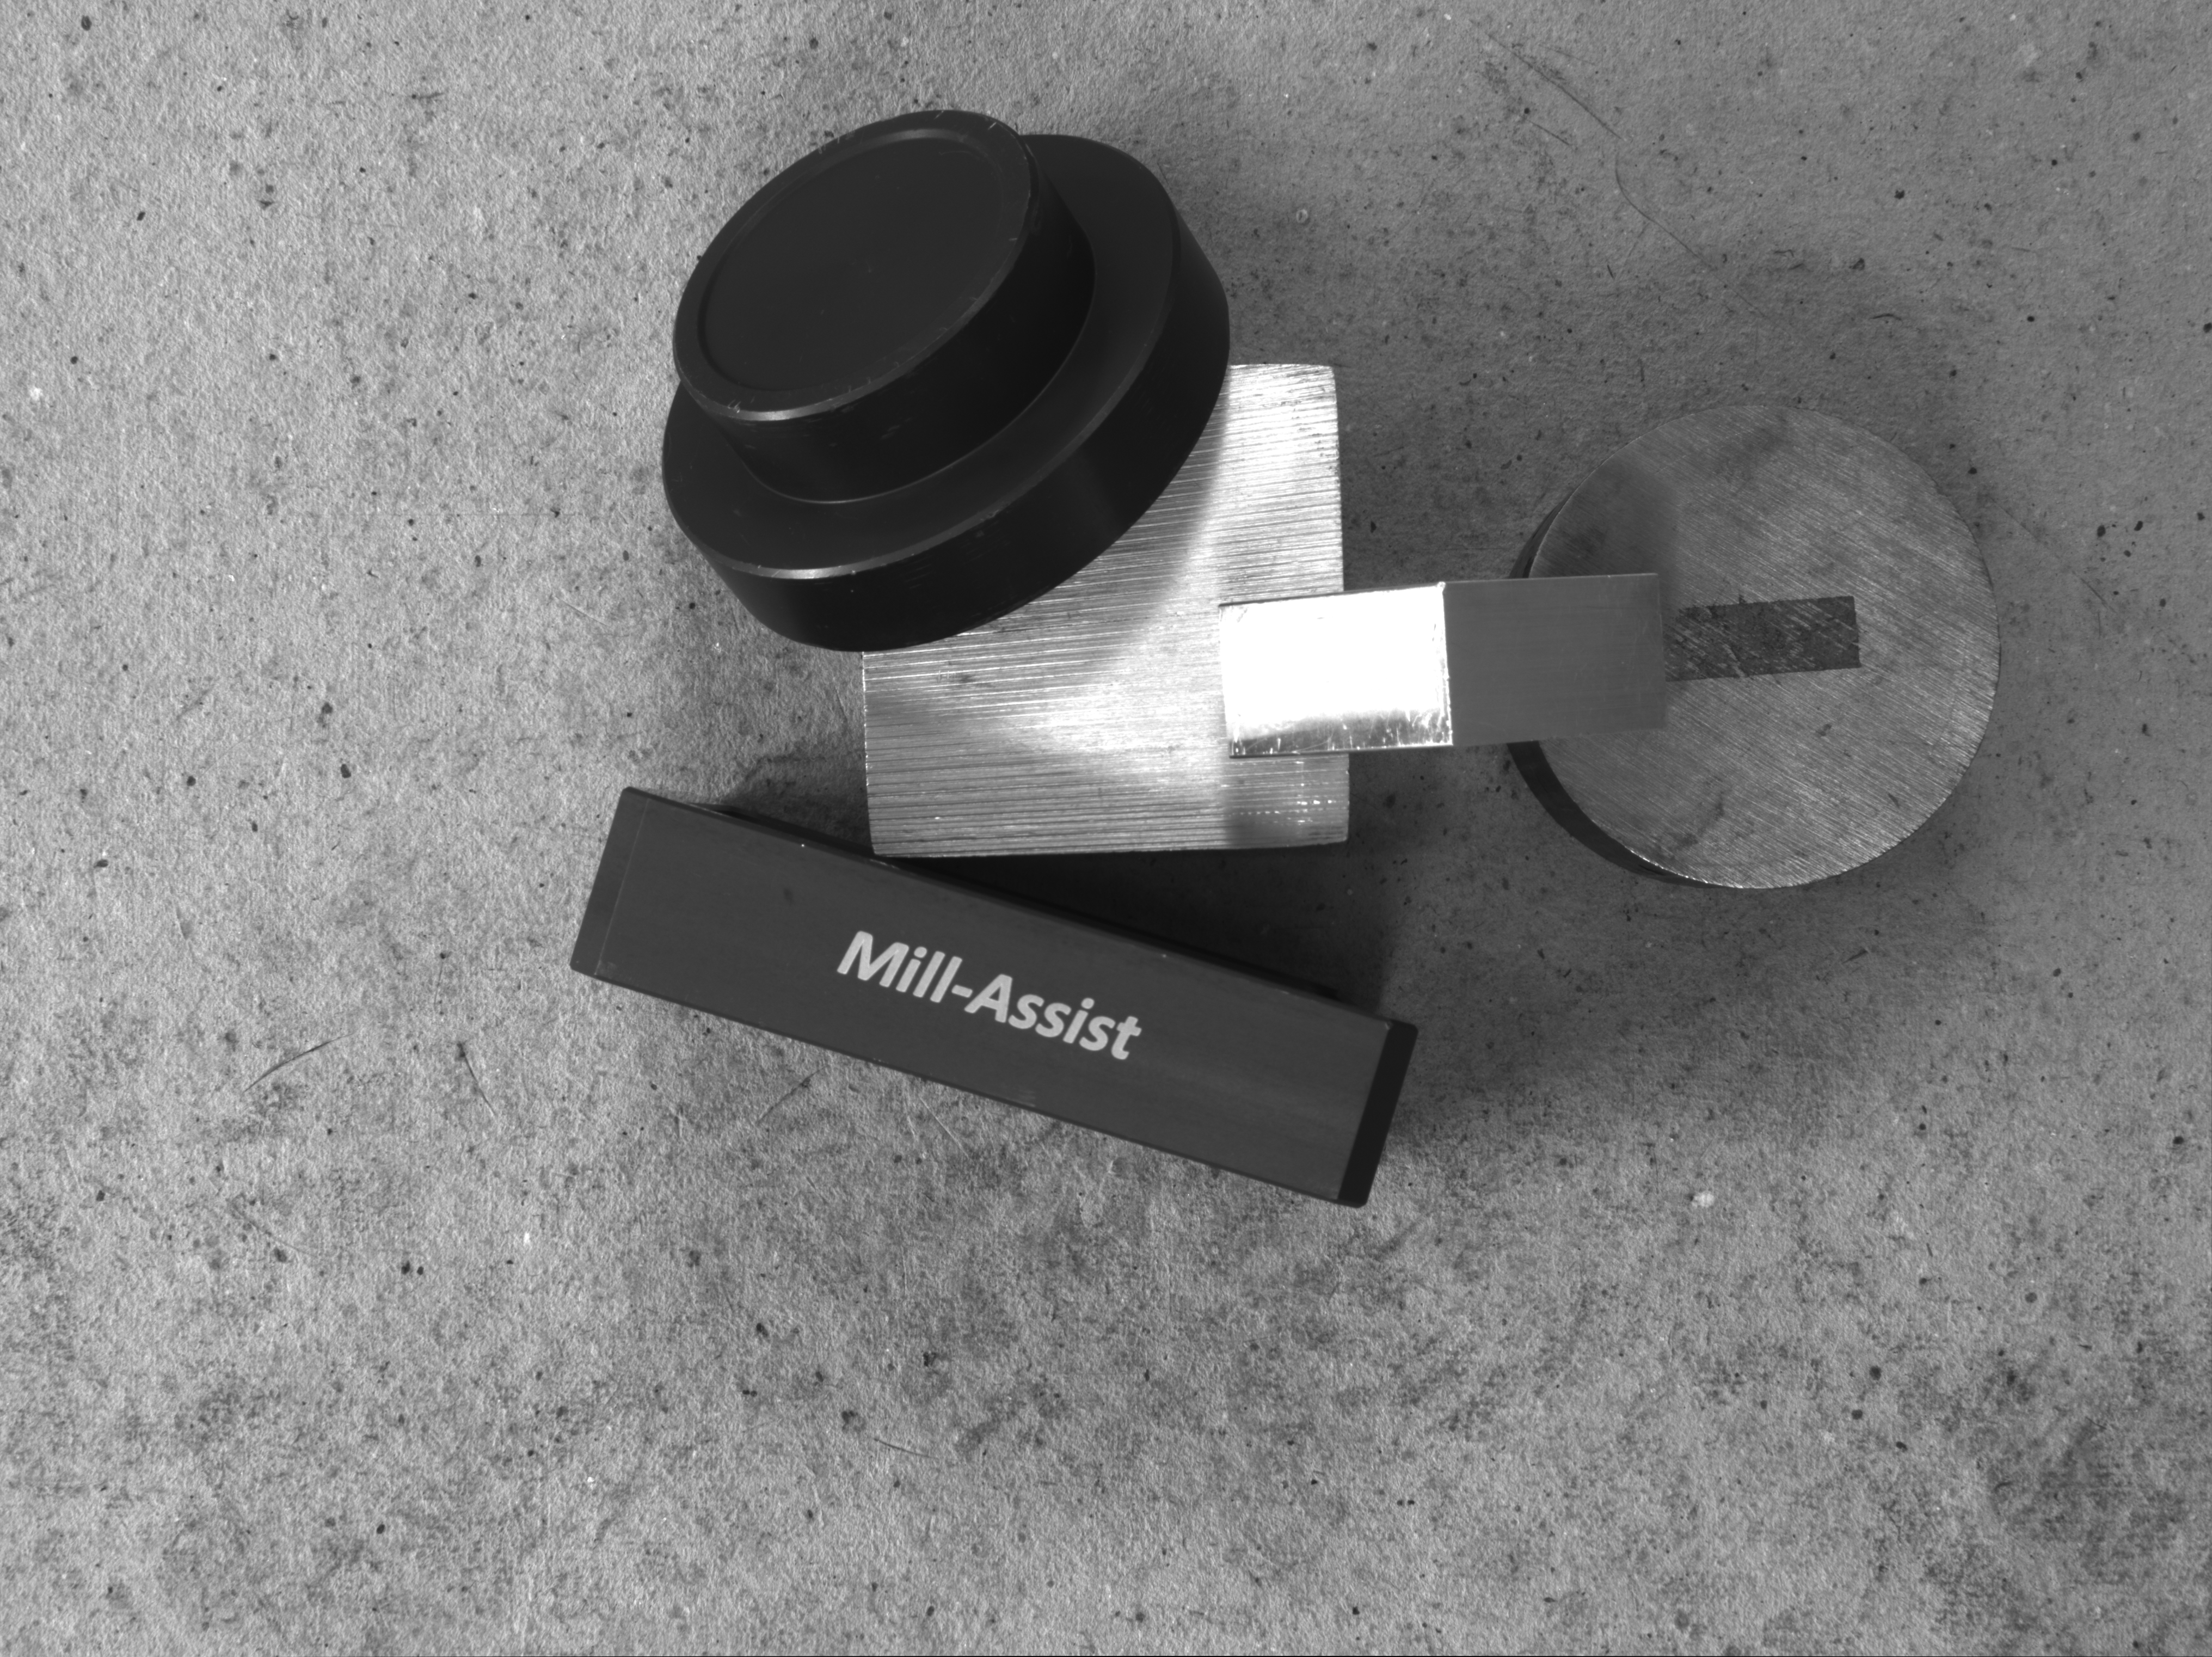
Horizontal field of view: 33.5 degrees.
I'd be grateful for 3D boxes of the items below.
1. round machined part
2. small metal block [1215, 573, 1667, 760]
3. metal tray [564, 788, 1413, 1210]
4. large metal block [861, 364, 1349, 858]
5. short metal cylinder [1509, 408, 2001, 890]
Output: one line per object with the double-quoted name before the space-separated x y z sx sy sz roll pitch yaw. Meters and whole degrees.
"round machined part" -0.033 -0.080 0.609 0.098 0.098 0.042 -37 134 0
"small metal block" 0.054 -0.026 0.588 0.050 0.050 0.025 -6 93 -41
"metal tray" -0.018 0.027 0.613 0.130 0.090 0.030 17 90 0
"large metal block" 0.000 -0.036 0.635 0.080 0.050 0.080 -1 90 0
"short metal cylinder" 0.109 -0.030 0.634 0.080 0.050 0.080 0 90 0
